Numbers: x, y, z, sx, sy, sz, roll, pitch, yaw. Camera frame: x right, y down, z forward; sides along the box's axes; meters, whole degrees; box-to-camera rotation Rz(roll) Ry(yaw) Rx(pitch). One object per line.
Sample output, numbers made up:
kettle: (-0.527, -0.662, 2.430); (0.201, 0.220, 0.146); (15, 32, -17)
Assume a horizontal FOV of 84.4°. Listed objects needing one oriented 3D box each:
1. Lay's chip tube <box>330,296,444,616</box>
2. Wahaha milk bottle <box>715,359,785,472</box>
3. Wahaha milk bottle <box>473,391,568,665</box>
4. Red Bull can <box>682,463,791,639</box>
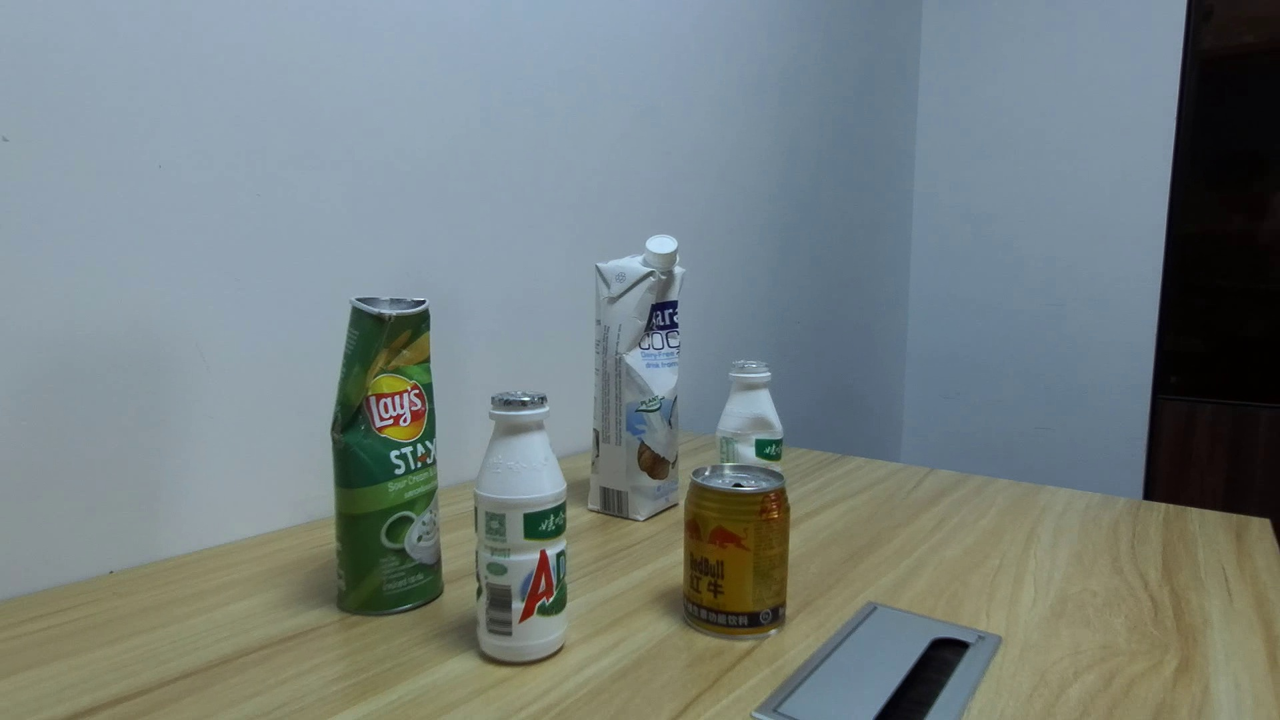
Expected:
Lay's chip tube: (-0.168, 0.061, 0.470); (0.069, 0.201, 0.077); (-2, 8, -24)
Wahaha milk bottle: (0.089, 0.075, 0.578); (0.055, 0.149, 0.055); (2, 9, 0)
Wahaha milk bottle: (-0.068, 0.094, 0.404); (0.053, 0.147, 0.053); (0, 5, 0)
Red Bull can: (0.061, 0.117, 0.444); (0.067, 0.093, 0.067); (2, 7, 0)
